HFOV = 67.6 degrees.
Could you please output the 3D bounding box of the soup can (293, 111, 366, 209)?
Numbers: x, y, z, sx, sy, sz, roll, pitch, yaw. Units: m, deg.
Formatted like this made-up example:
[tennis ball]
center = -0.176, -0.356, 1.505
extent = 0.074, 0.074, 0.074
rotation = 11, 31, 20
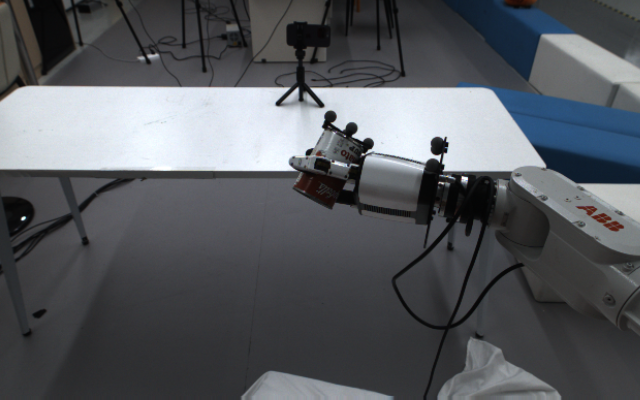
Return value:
[soup can]
center = 0.012, -0.046, 0.712
extent = 0.067, 0.101, 0.067
rotation = 29, -3, 1
